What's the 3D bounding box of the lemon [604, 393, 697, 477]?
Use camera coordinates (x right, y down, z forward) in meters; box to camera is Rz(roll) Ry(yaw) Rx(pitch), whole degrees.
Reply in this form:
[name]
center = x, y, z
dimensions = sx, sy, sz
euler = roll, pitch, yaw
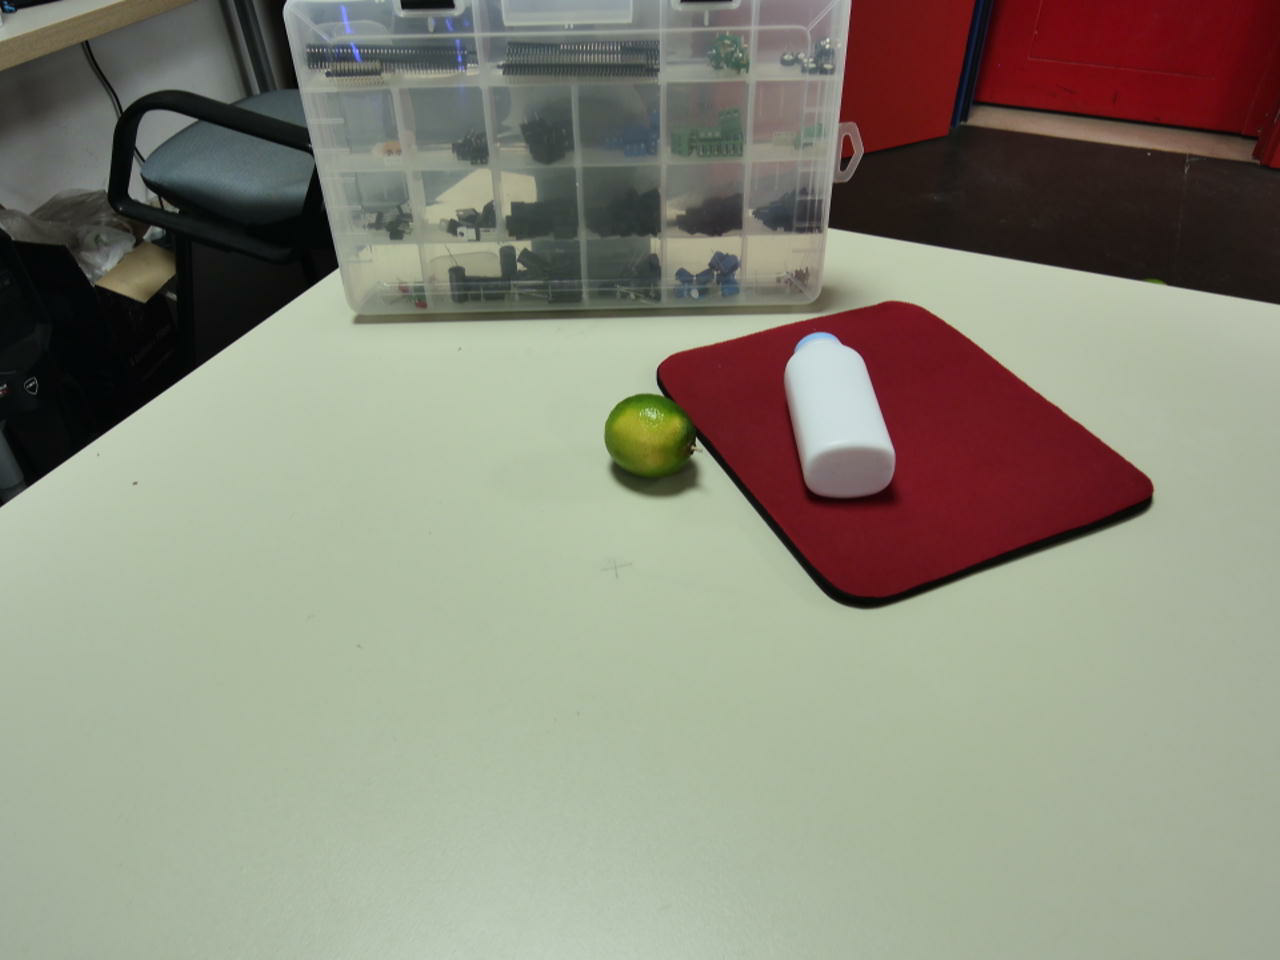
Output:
[lemon]
center = 0.006, -0.028, 0.617
dimensions = 0.054, 0.050, 0.055
euler = -9, 39, -12
